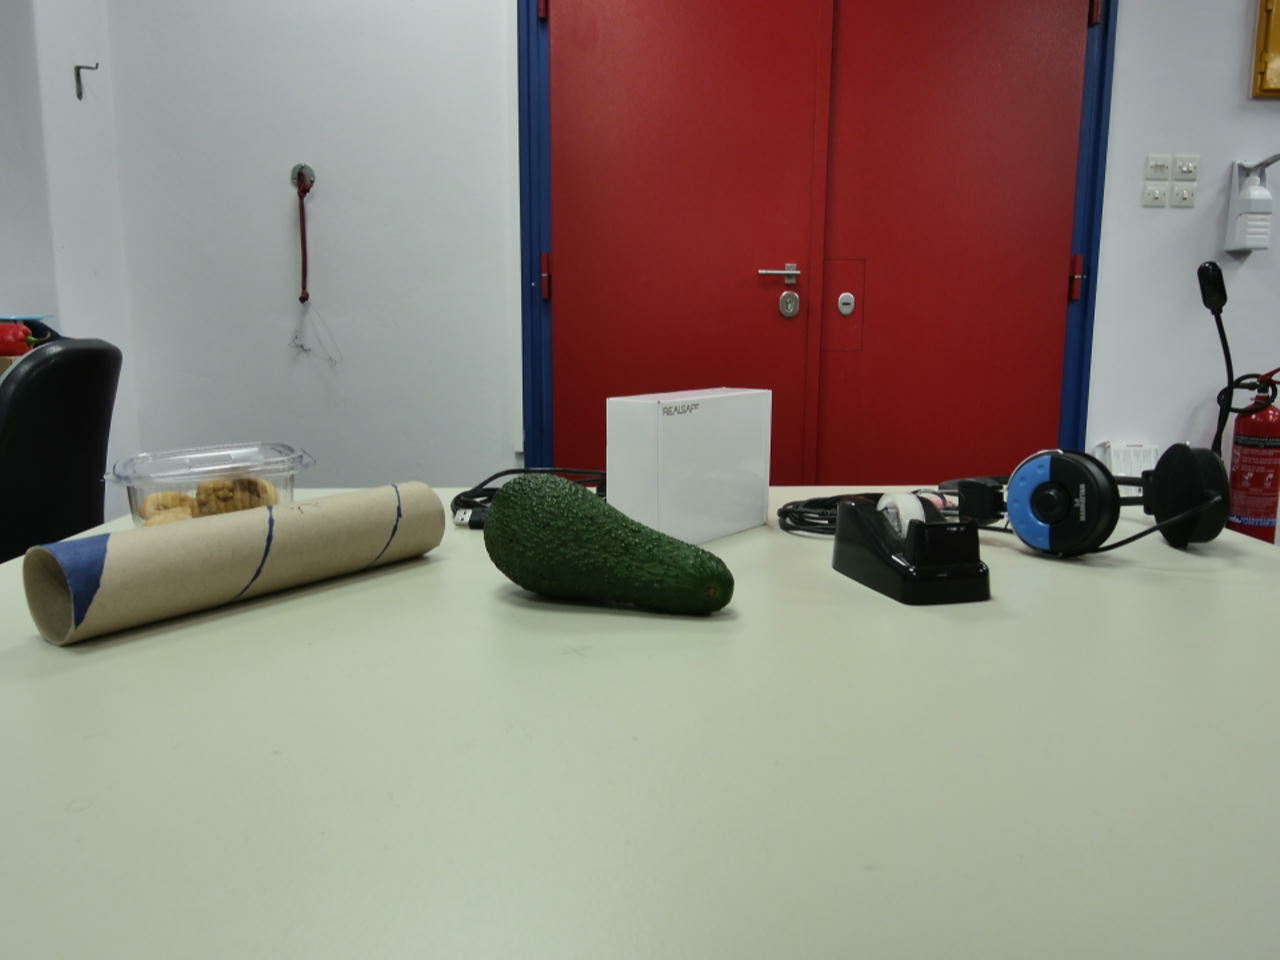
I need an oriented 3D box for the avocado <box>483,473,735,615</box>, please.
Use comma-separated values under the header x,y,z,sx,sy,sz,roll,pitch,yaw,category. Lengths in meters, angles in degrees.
x,y,z,sx,sy,sz,roll,pitch,yaw,category
-0.017,0.031,0.521,0.141,0.067,0.063,2,6,14,avocado
